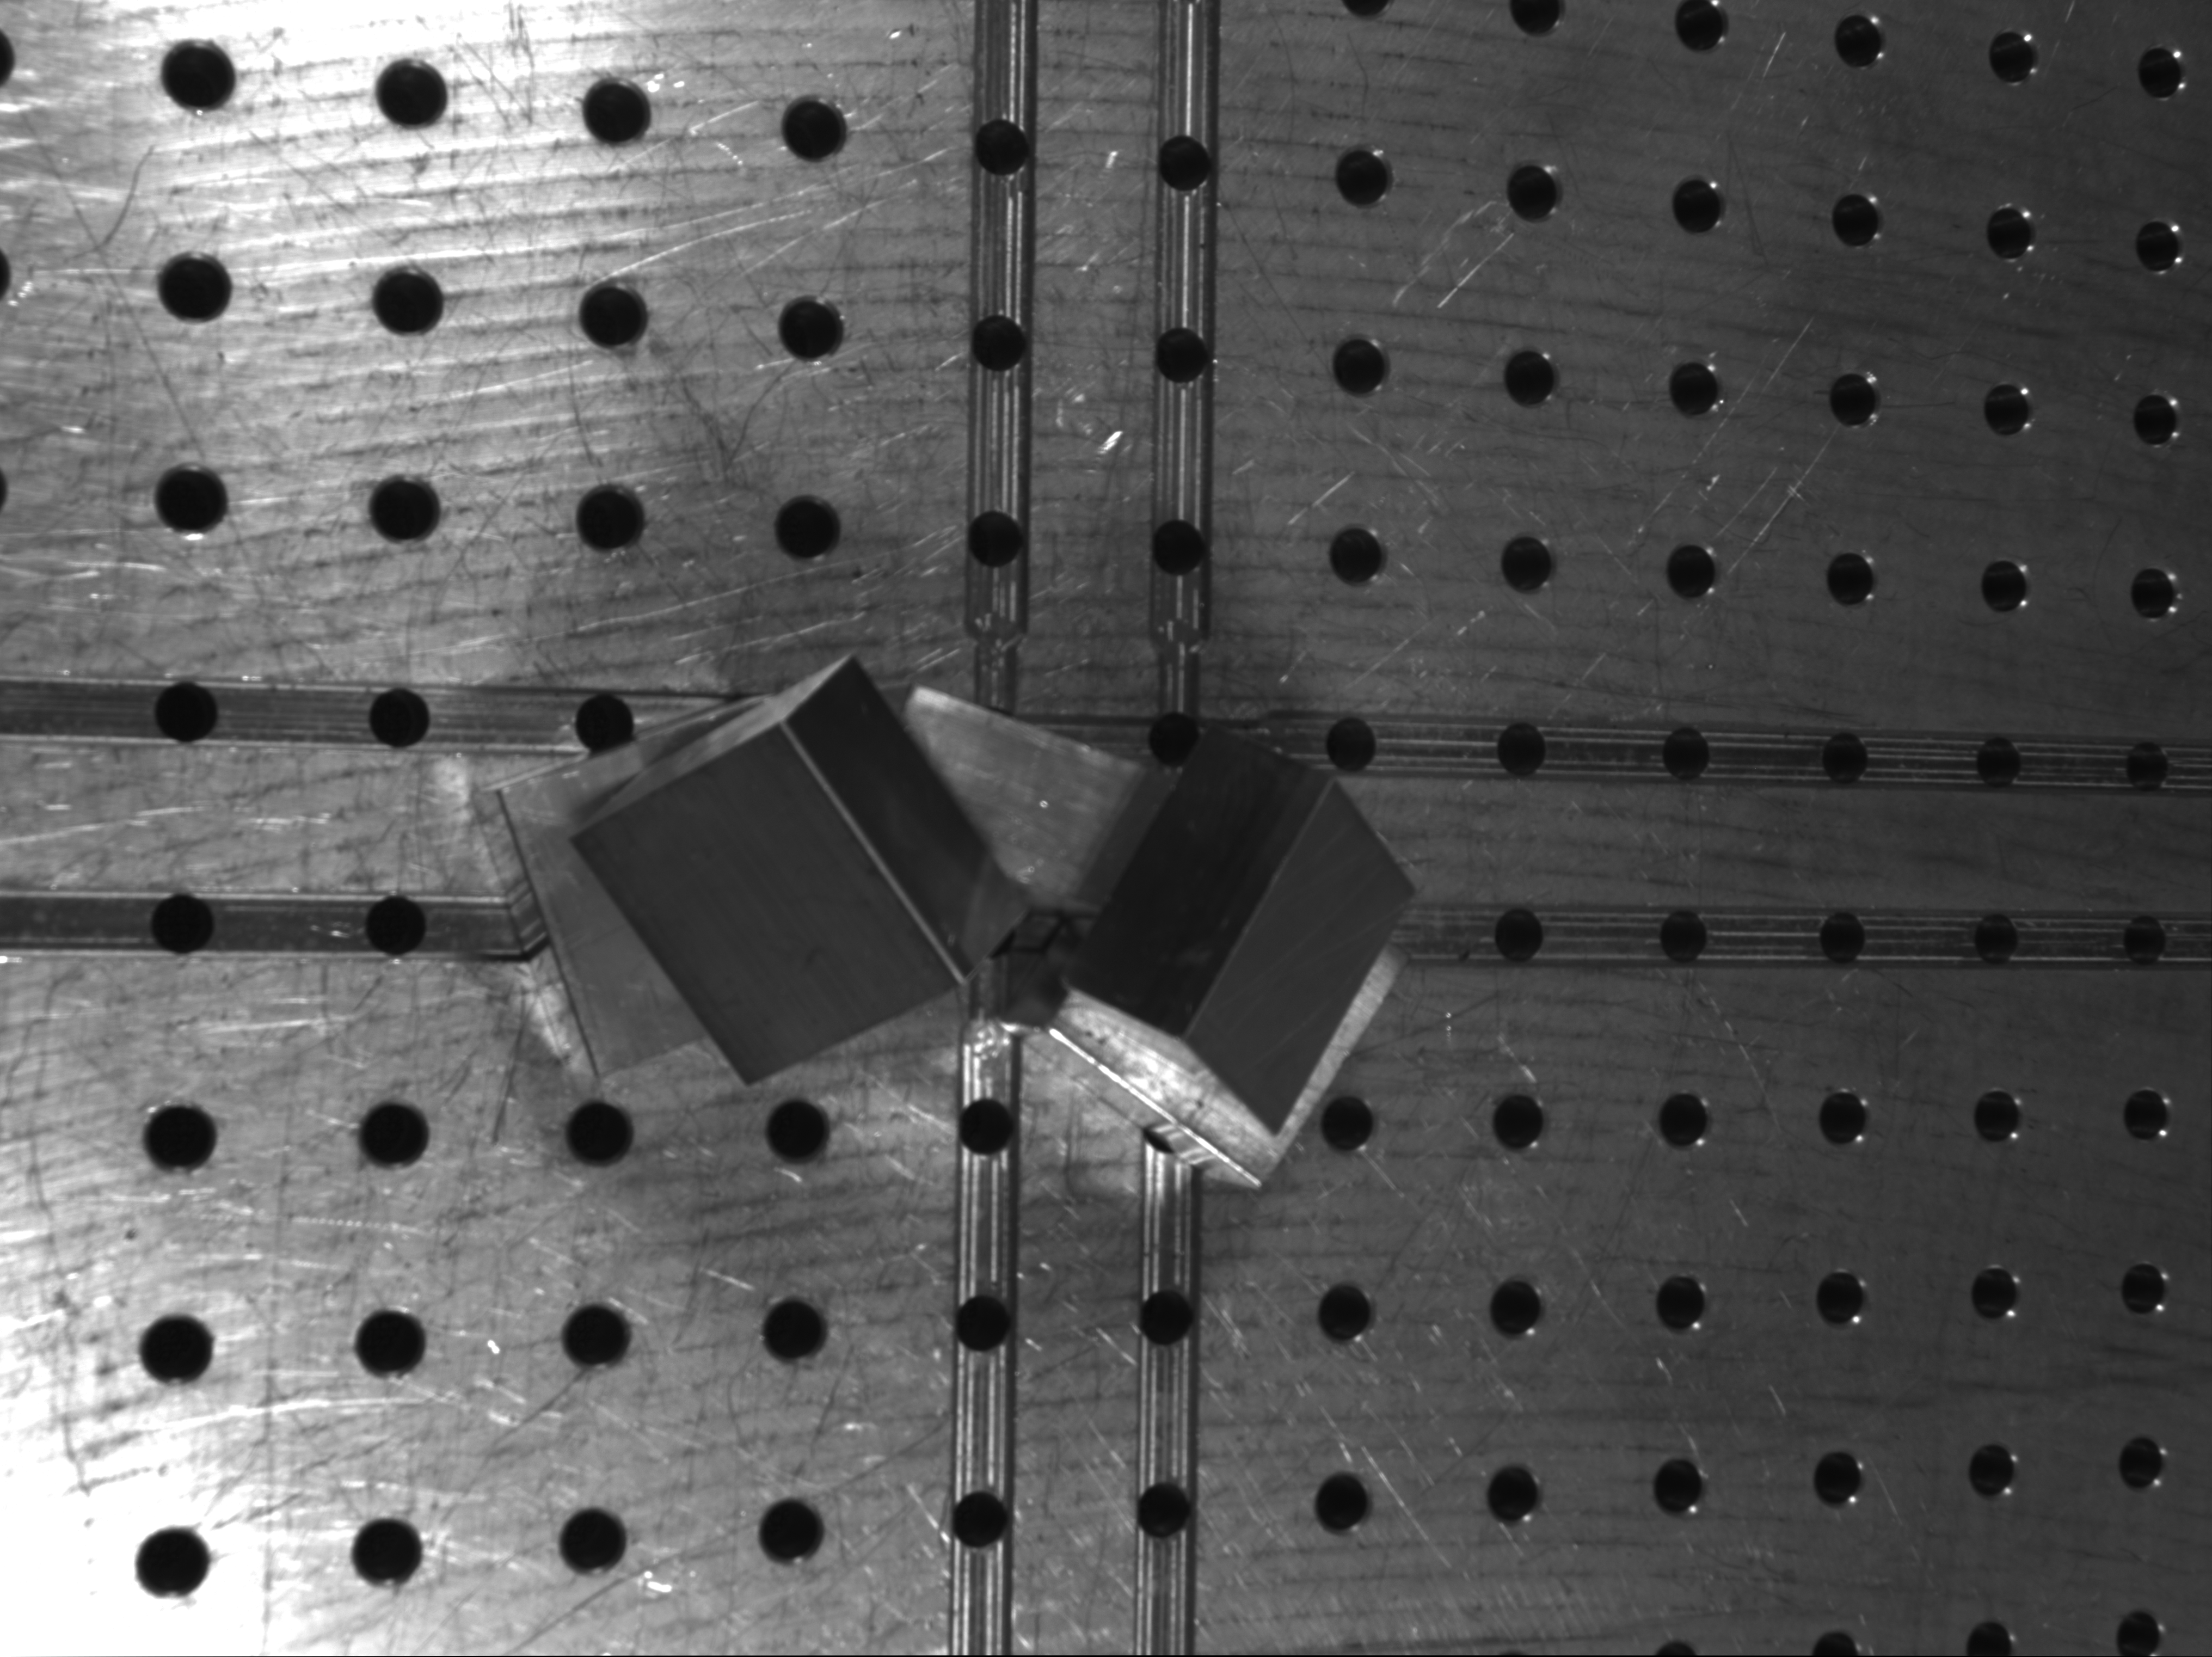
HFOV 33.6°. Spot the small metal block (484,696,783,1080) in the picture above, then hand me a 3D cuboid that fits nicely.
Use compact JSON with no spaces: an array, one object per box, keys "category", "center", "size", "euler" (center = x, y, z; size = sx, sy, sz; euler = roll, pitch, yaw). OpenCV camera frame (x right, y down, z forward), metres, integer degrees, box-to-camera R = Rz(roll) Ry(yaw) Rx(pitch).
[{"category":"small metal block","center":[-0.072,0.010,0.620],"size":[0.050,0.025,0.050],"euler":[-21,97,-19]}]

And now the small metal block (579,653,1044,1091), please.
[{"category":"small metal block","center":[-0.047,0.008,0.586],"size":[0.050,0.050,0.025],"euler":[55,35,-12]}]

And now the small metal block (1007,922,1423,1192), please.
[{"category":"small metal block","center":[0.019,0.029,0.653],"size":[0.050,0.025,0.050],"euler":[37,78,-16]}]

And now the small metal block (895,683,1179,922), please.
[{"category":"small metal block","center":[-0.020,-0.004,0.625],"size":[0.050,0.050,0.025],"euler":[20,83,-19]}]

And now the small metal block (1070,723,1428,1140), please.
[{"category":"small metal block","center":[0.025,0.018,0.613],"size":[0.050,0.025,0.050],"euler":[-60,151,-11]}]
